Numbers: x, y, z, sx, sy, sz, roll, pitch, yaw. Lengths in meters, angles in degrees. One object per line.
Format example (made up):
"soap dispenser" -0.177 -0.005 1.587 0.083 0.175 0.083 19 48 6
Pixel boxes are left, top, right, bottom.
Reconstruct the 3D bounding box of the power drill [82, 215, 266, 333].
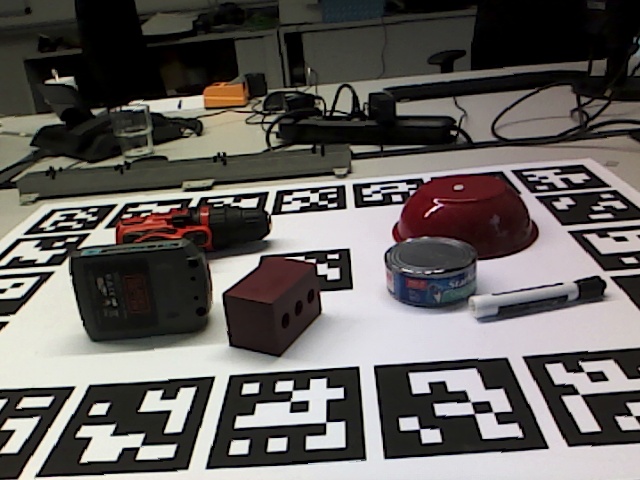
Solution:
"power drill" -0.151 0.025 0.638 0.184 0.057 0.187 -2 21 -1

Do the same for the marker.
"marker" 0.196 0.051 0.538 0.121 0.019 0.020 -8 26 -8

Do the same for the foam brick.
"foam brick" -0.034 0.066 0.534 0.051 0.052 0.078 7 28 23

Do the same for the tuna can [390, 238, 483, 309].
"tuna can" 0.109 0.031 0.586 0.086 0.033 0.086 -3 24 1

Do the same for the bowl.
"bowl" 0.157 -0.026 0.703 0.162 0.055 0.162 -8 17 2
